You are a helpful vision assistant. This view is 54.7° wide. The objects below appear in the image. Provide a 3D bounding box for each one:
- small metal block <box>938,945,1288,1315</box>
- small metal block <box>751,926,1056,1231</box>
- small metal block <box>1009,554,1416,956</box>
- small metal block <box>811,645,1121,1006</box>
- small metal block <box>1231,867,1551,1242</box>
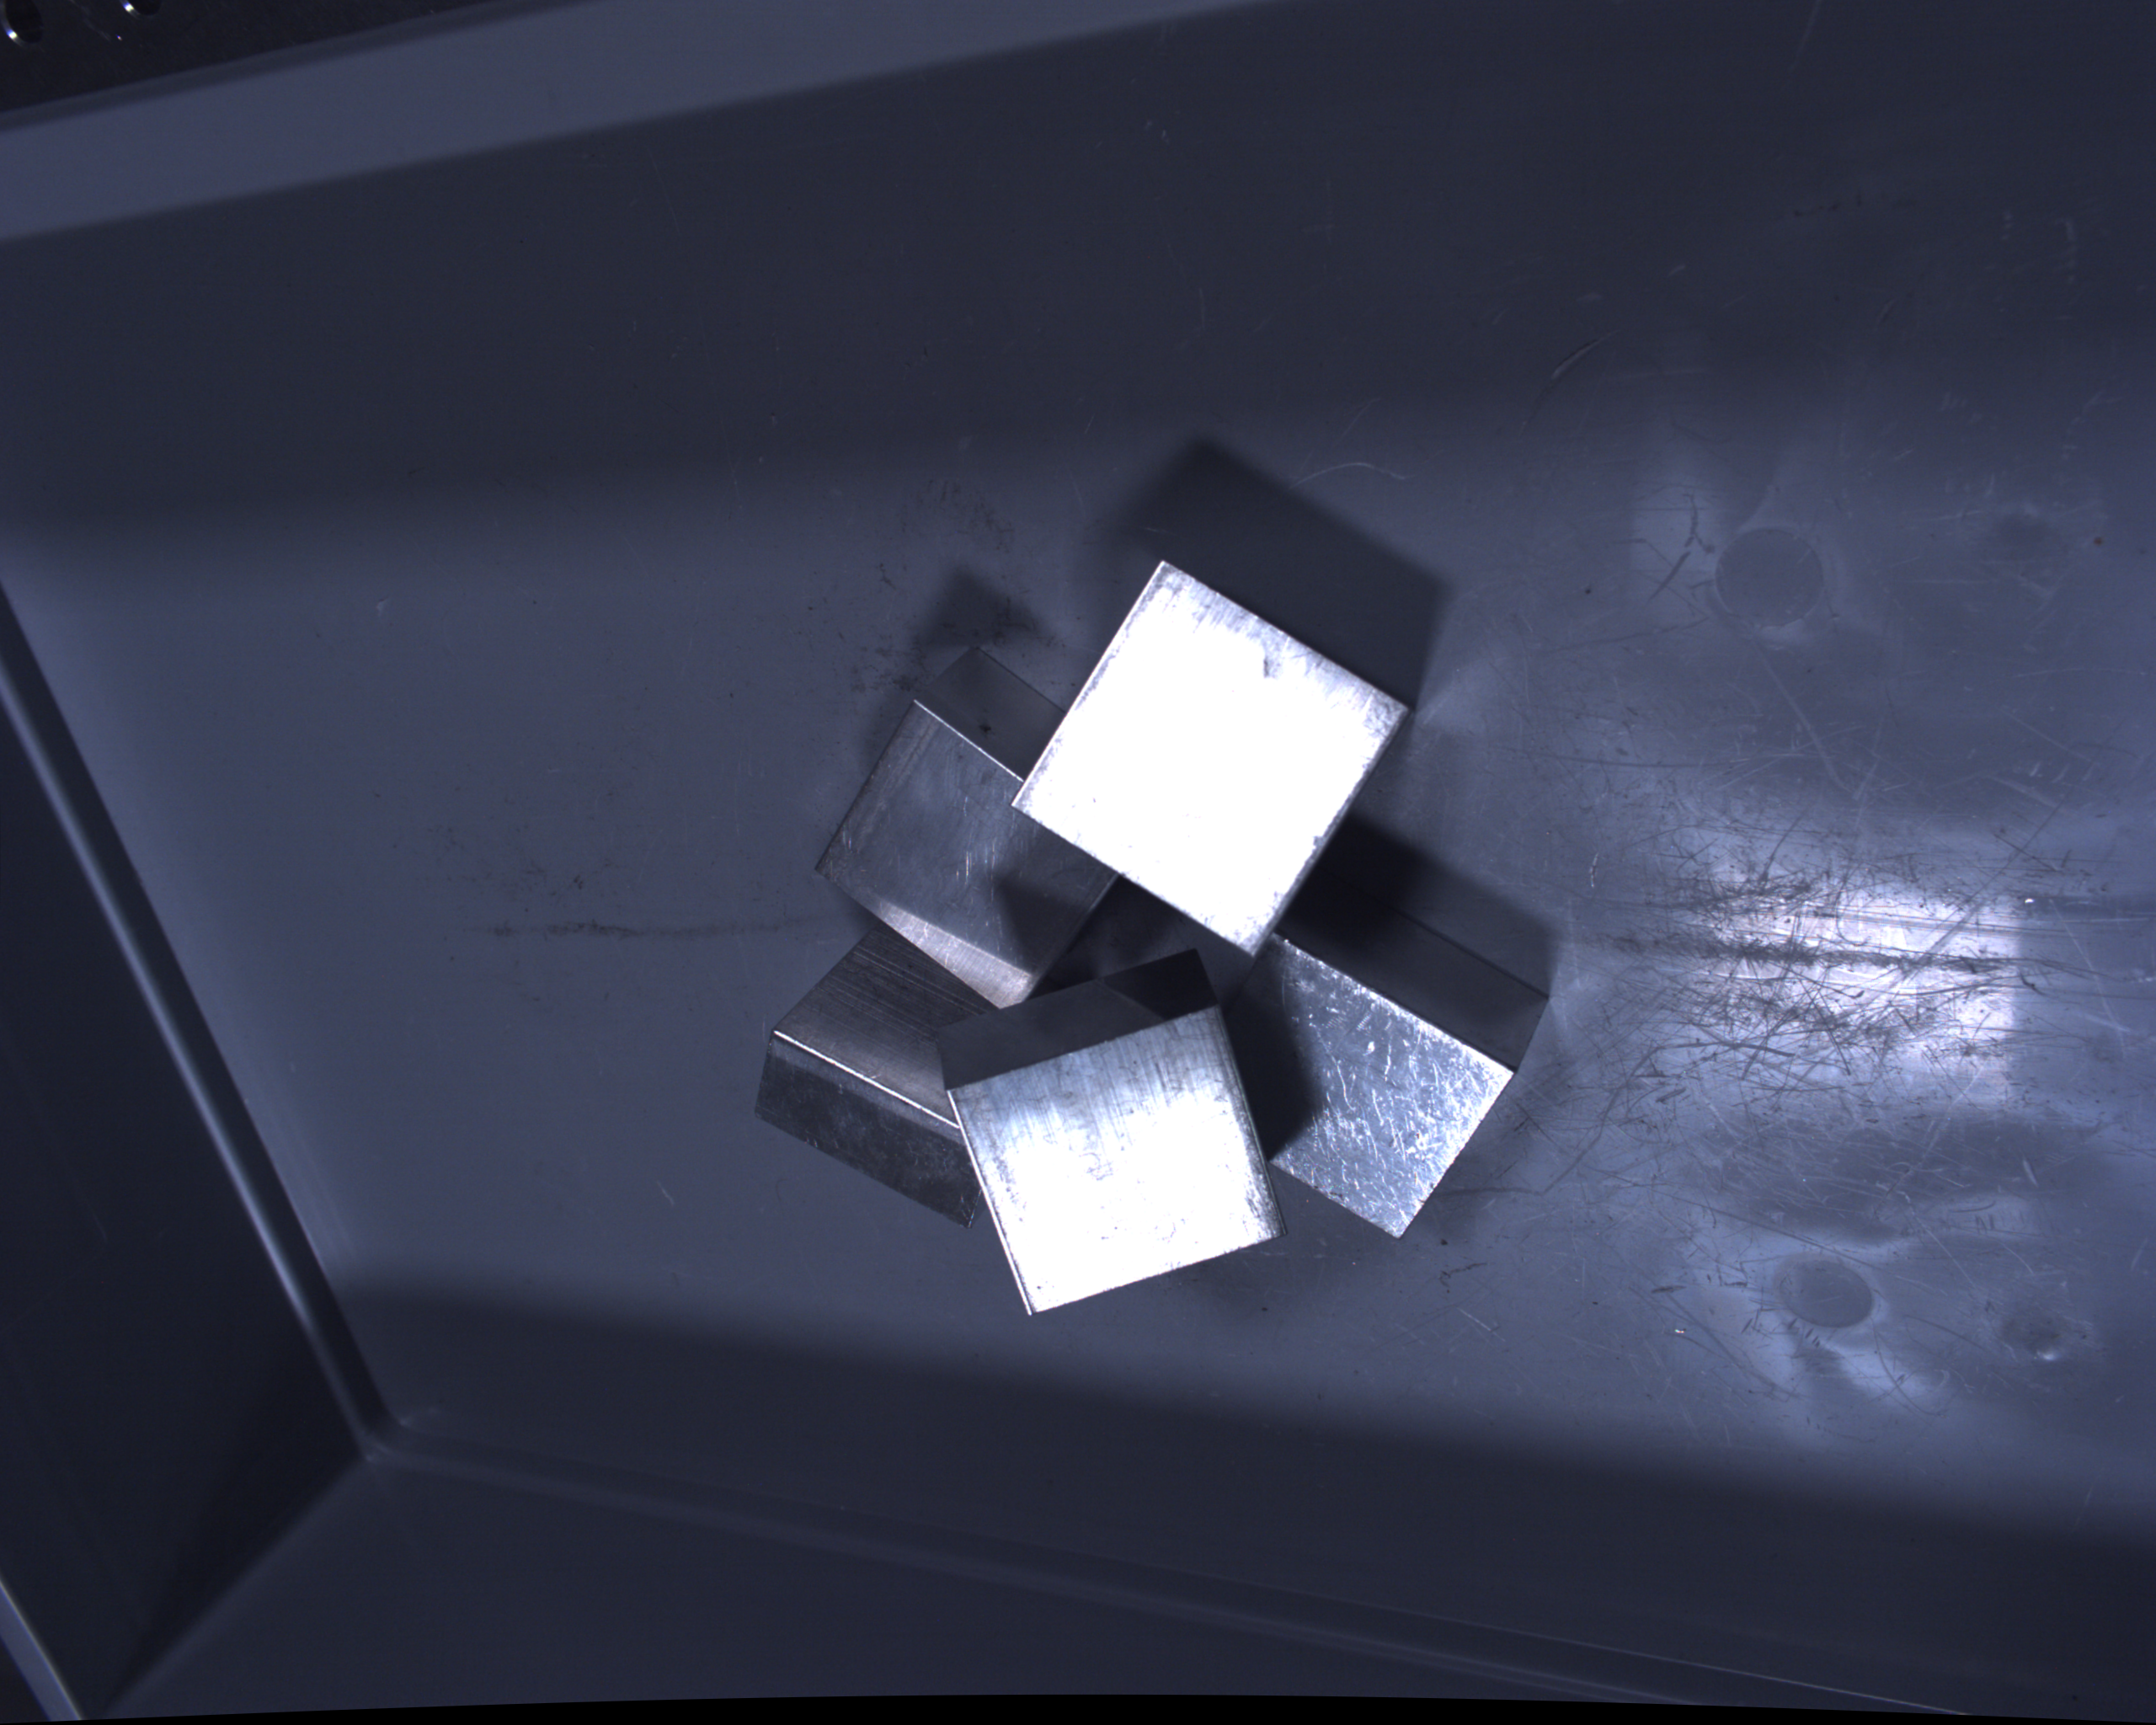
[{"bbox_3d":[0.006,0.049,0.386,0.050,0.025,0.050,-18,113,0],"label":"small metal block"},{"bbox_3d":[-0.031,0.041,0.429,0.050,0.050,0.025,26,127,11],"label":"small metal block"},{"bbox_3d":[0.024,-0.019,0.367,0.050,0.025,0.050,32,95,6],"label":"small metal block"},{"bbox_3d":[-0.017,-0.006,0.409,0.050,0.025,0.050,37,129,2],"label":"small metal block"},{"bbox_3d":[0.054,0.037,0.399,0.050,0.025,0.050,31,128,8],"label":"small metal block"}]
